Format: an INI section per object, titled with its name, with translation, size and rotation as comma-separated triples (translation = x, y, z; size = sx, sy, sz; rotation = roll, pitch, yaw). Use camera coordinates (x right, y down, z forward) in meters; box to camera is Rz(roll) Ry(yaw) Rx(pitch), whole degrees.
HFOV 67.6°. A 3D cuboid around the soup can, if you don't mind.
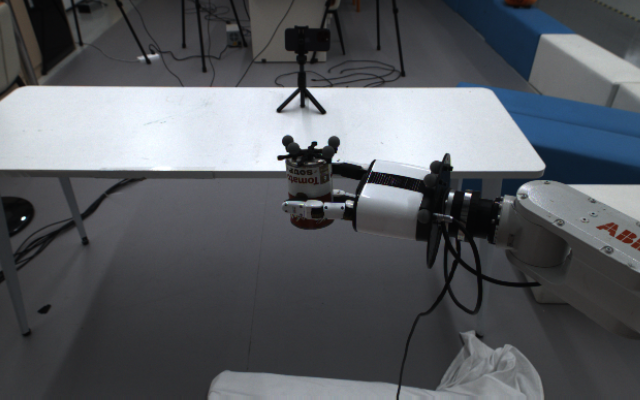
[soup can]
translation = -0.012, -0.017, 0.712
size = 0.067, 0.101, 0.067
rotation = -3, 27, 2
